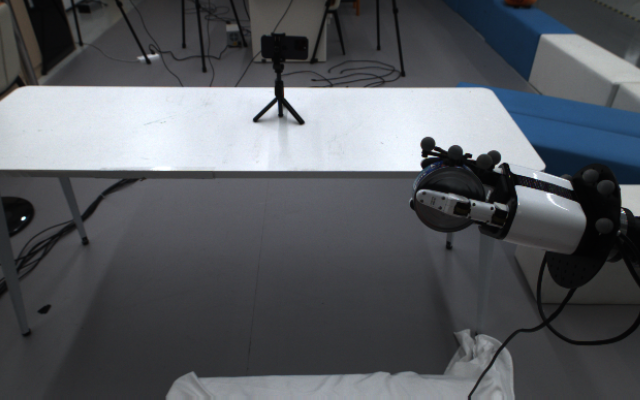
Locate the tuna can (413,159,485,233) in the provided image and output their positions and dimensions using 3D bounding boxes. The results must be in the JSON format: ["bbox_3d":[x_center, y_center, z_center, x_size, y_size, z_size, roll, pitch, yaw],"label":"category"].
[{"bbox_3d":[0.160,-0.009,0.602,0.085,0.085,0.034,4,19,3],"label":"tuna can"}]
